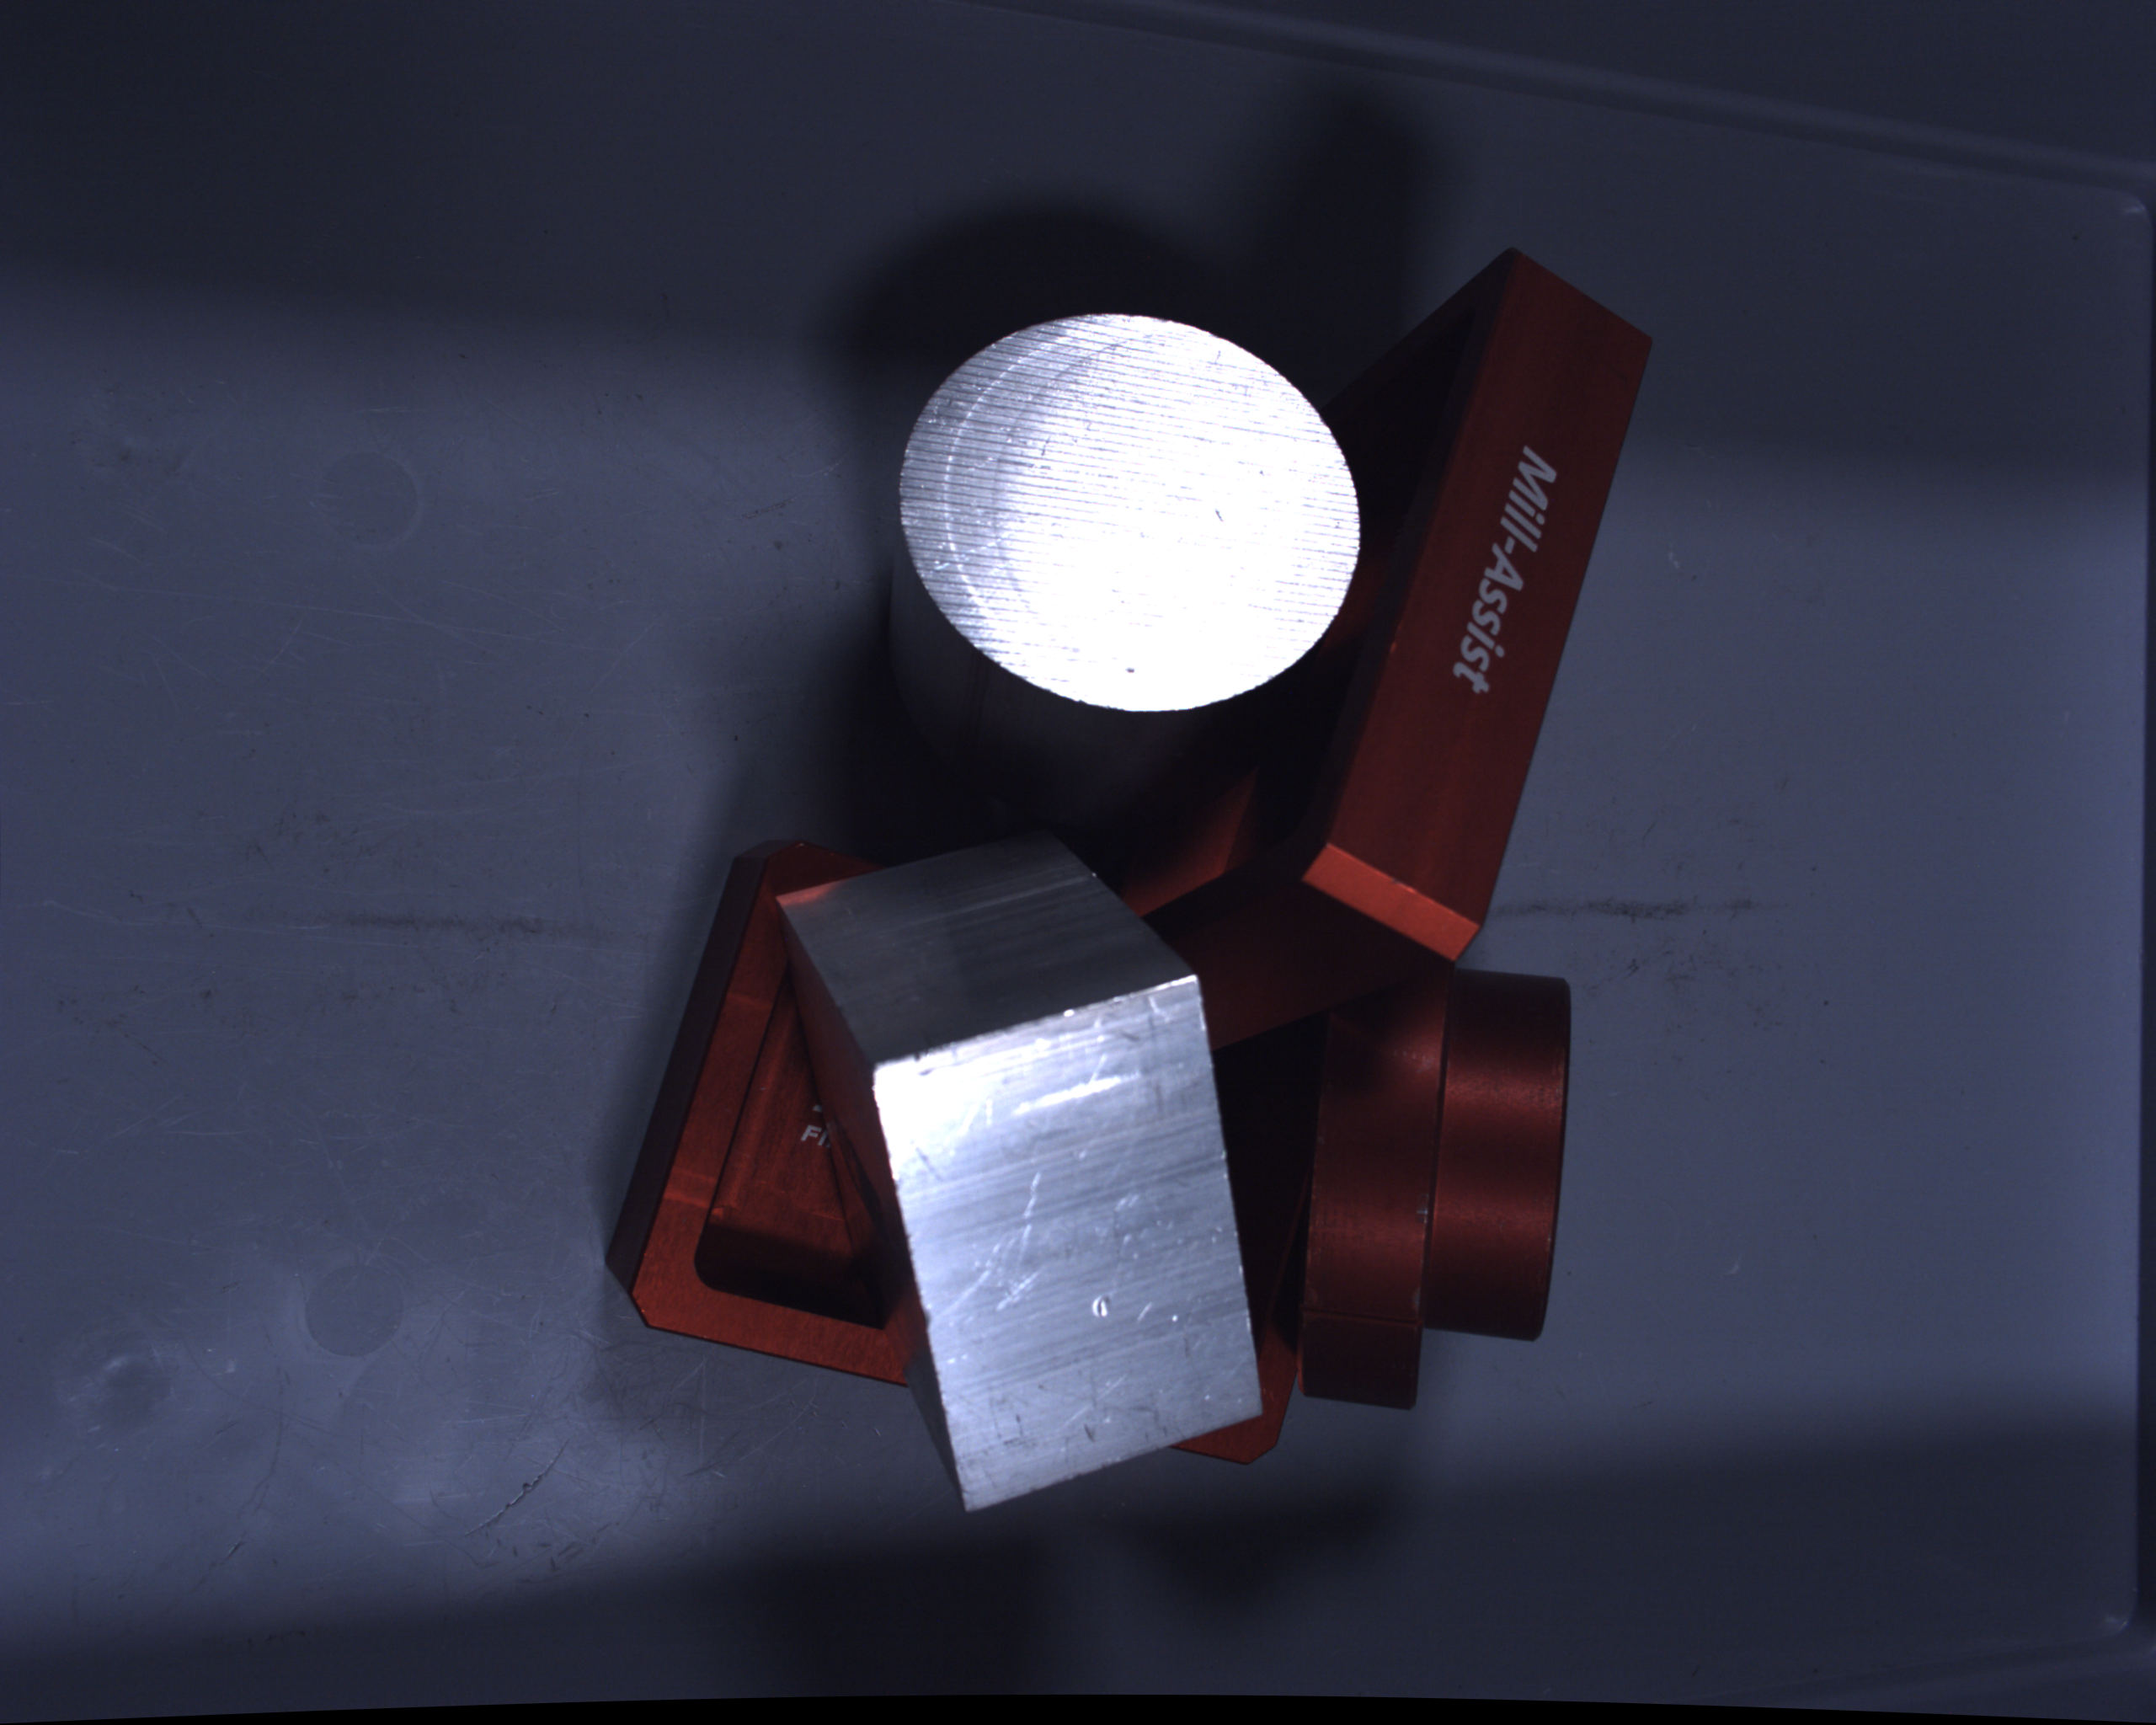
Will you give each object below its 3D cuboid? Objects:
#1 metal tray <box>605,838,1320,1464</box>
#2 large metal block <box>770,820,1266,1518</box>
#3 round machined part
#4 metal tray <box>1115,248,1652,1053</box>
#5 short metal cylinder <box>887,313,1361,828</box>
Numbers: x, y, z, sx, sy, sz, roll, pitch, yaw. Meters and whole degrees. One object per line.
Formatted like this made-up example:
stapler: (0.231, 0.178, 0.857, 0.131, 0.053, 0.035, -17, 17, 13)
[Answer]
metal tray: (-0.013, 0.056, 0.401, 0.131, 0.030, 0.090, 18, 84, -19)
large metal block: (-0.012, 0.047, 0.352, 0.050, 0.080, 0.079, -15, 111, -14)
round machined part: (0.069, 0.054, 0.393, 0.042, 0.098, 0.097, 5, 88, 10)
metal tray: (0.051, -0.036, 0.378, 0.030, 0.090, 0.130, 28, 65, -15)
short metal cylinder: (0.006, -0.053, 0.383, 0.081, 0.050, 0.080, 3, 67, -7)
